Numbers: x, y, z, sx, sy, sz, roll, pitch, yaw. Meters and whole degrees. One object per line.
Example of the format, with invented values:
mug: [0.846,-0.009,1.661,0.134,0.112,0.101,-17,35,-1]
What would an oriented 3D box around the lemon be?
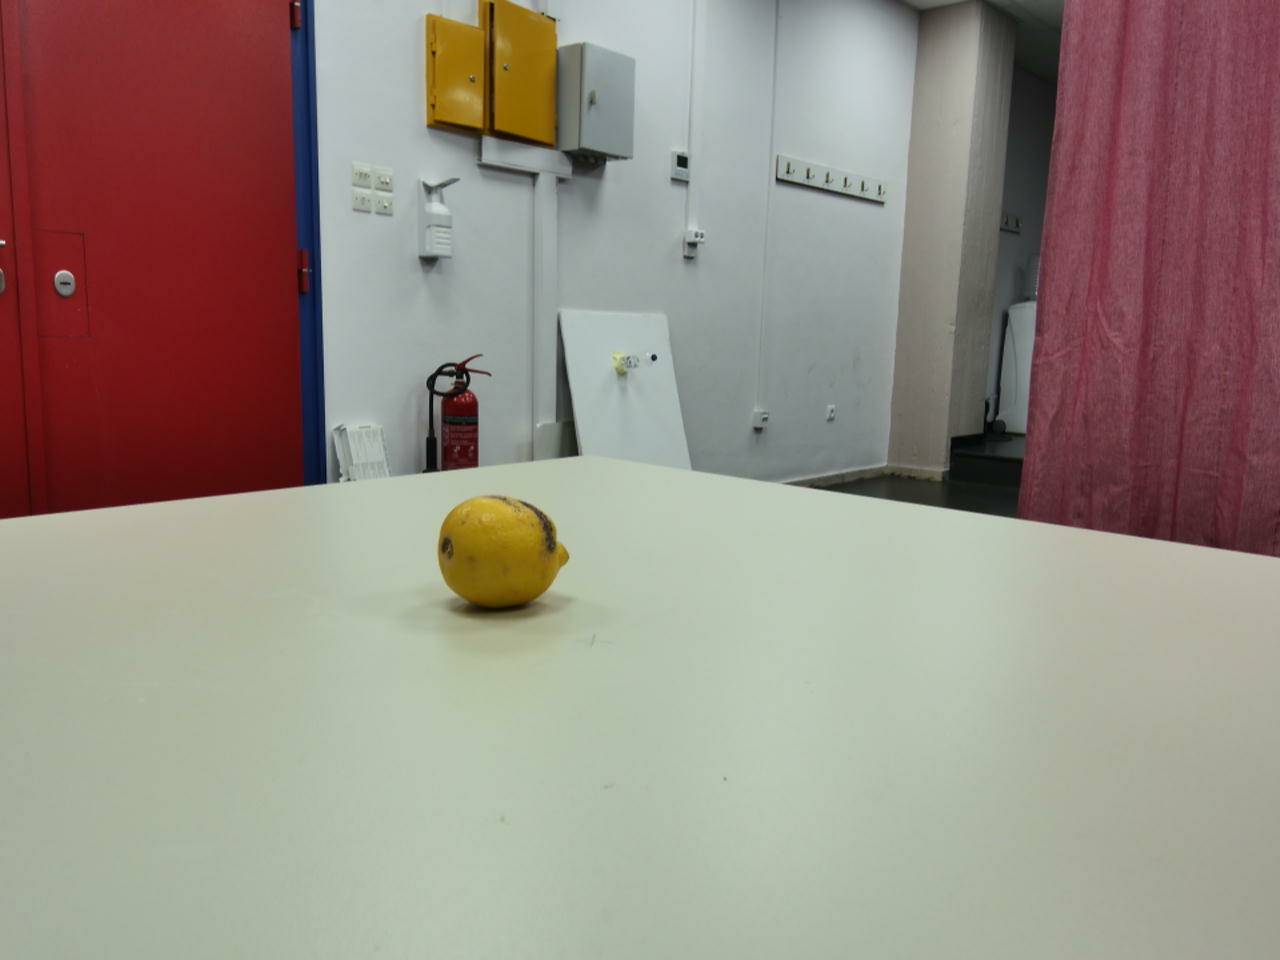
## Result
lemon: [-0.071,0.036,0.505,0.058,0.056,0.061,5,8,33]
